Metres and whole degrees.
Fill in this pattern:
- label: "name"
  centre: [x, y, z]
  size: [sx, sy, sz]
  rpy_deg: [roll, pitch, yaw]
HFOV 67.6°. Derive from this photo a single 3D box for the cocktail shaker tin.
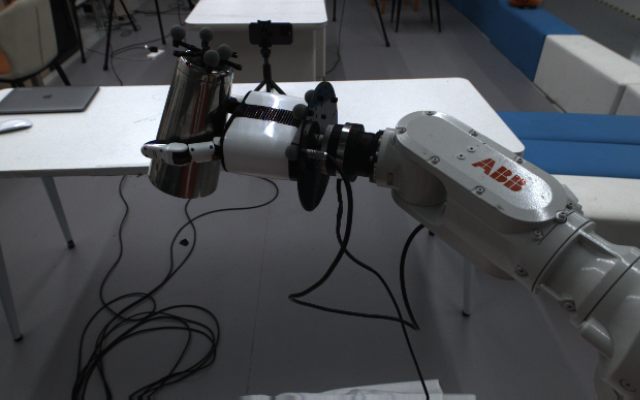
- label: "cocktail shaker tin"
  centre: [-0.160, -0.099, 0.615]
  size: [0.093, 0.170, 0.093]
  rpy_deg: [16, 31, -10]
